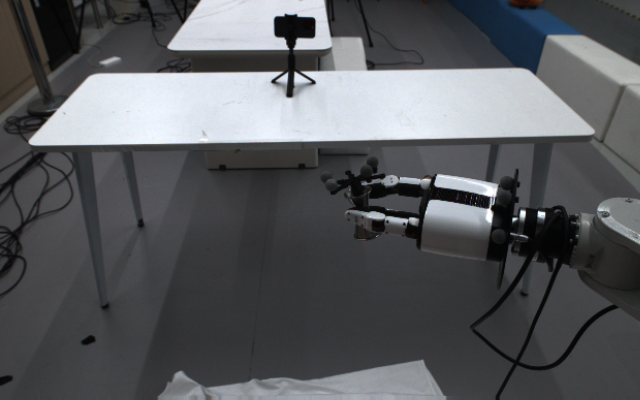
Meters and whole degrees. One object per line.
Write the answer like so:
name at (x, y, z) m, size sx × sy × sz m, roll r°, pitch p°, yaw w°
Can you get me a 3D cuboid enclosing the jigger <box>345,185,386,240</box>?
jigger at (0.062, 0.018, 0.690) m, size 0.043 × 0.071 × 0.043 m, roll -14°, pitch 21°, yaw 6°
